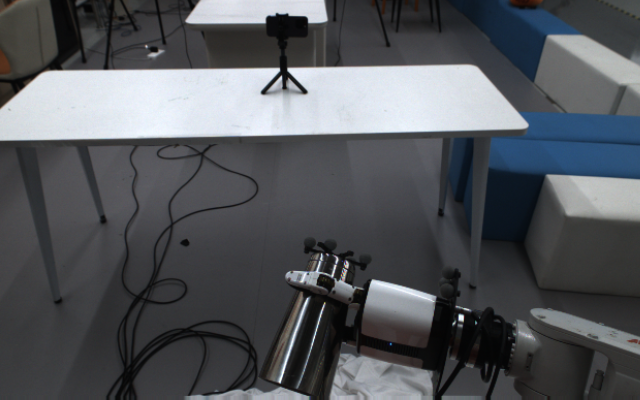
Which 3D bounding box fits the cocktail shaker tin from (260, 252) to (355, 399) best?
[{"bbox_3d":[-0.004,0.157,0.627,0.093,0.093,0.170,12,65,14],"label":"cocktail shaker tin"}]
